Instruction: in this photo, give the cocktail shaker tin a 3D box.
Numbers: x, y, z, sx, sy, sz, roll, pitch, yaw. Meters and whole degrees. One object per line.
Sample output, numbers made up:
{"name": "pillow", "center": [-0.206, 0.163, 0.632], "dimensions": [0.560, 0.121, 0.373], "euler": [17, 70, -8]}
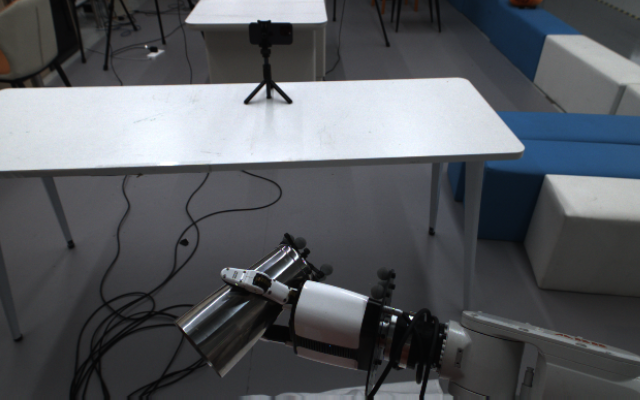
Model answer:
{"name": "cocktail shaker tin", "center": [-0.091, 0.131, 0.632], "dimensions": [0.170, 0.093, 0.093], "euler": [-38, 49, -24]}
